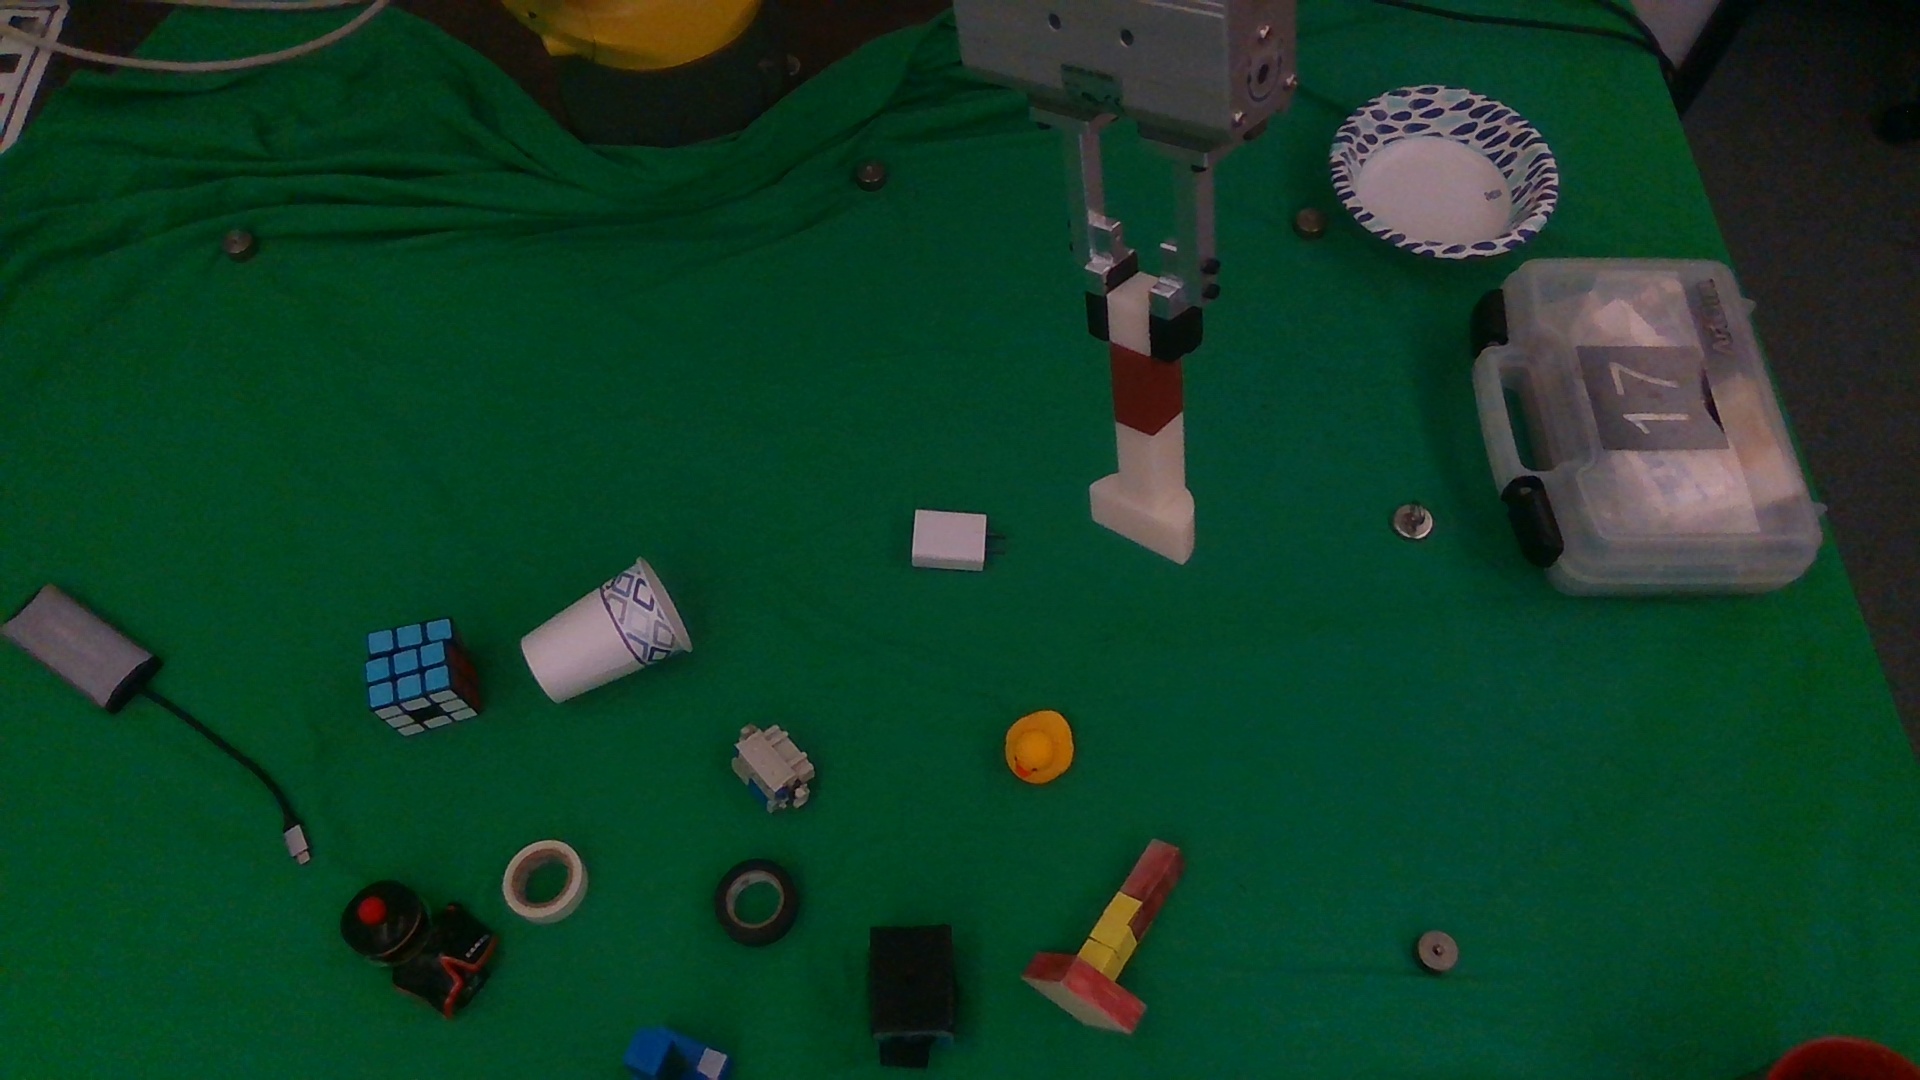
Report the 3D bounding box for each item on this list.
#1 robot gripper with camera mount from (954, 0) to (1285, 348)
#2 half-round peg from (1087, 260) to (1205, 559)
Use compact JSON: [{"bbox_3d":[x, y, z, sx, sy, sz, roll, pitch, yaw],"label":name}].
[{"bbox_3d":[0.112,-0.187,0.527,0.193,0.158,0.119,-38,48,-27],"label":"robot gripper with camera mount"},{"bbox_3d":[0.076,-0.053,0.557,0.031,0.122,0.054,-34,44,-29],"label":"half-round peg"}]
